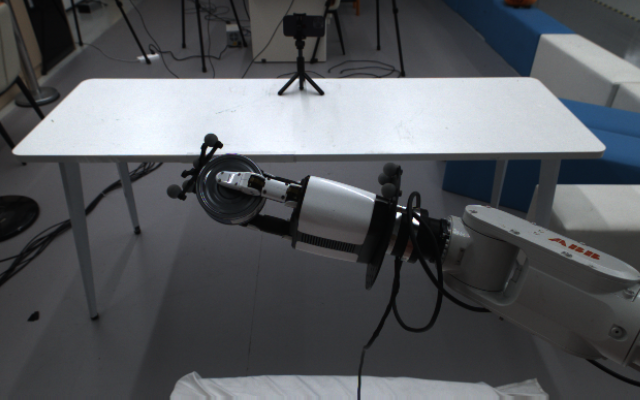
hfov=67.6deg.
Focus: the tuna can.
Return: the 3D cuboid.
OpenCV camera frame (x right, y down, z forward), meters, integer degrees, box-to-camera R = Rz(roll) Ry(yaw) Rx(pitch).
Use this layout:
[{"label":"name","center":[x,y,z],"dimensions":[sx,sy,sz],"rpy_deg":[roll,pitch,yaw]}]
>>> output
[{"label":"tuna can","center":[-0.106,-0.010,0.600],"dimensions":[0.085,0.034,0.085],"rpy_deg":[1,77,-5]}]
